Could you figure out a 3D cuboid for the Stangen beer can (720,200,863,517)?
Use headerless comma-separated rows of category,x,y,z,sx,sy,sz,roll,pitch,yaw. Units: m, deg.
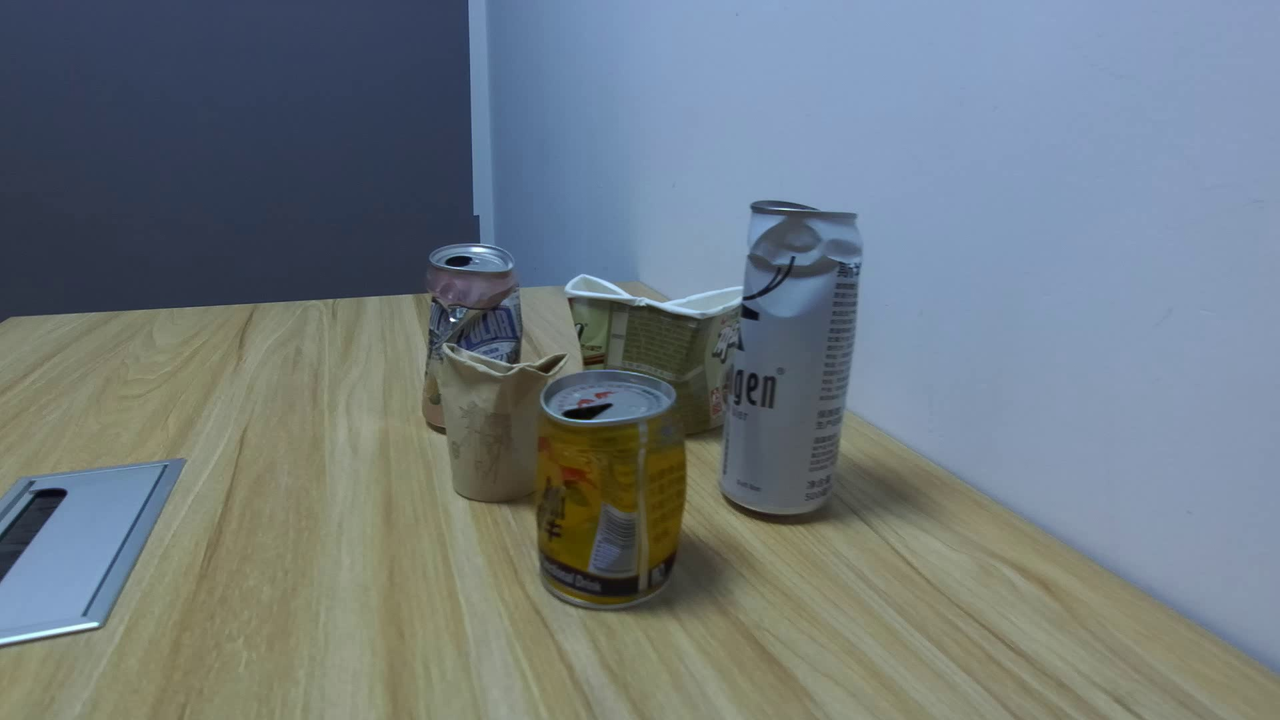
Stangen beer can,0.080,0.001,0.382,0.066,0.166,0.066,7,19,14

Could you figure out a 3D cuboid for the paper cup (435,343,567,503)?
paper cup,-0.079,0.033,0.409,0.066,0.083,0.058,18,24,35

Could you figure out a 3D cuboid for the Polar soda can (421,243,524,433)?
Polar soda can,-0.115,-0.012,0.486,0.067,0.121,0.071,4,18,-8

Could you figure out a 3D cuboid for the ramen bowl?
ramen bowl,0.013,-0.009,0.514,0.128,0.093,0.112,11,22,28

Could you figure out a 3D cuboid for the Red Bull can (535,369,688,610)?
Red Bull can,-0.015,0.058,0.329,0.072,0.092,0.072,2,19,0
